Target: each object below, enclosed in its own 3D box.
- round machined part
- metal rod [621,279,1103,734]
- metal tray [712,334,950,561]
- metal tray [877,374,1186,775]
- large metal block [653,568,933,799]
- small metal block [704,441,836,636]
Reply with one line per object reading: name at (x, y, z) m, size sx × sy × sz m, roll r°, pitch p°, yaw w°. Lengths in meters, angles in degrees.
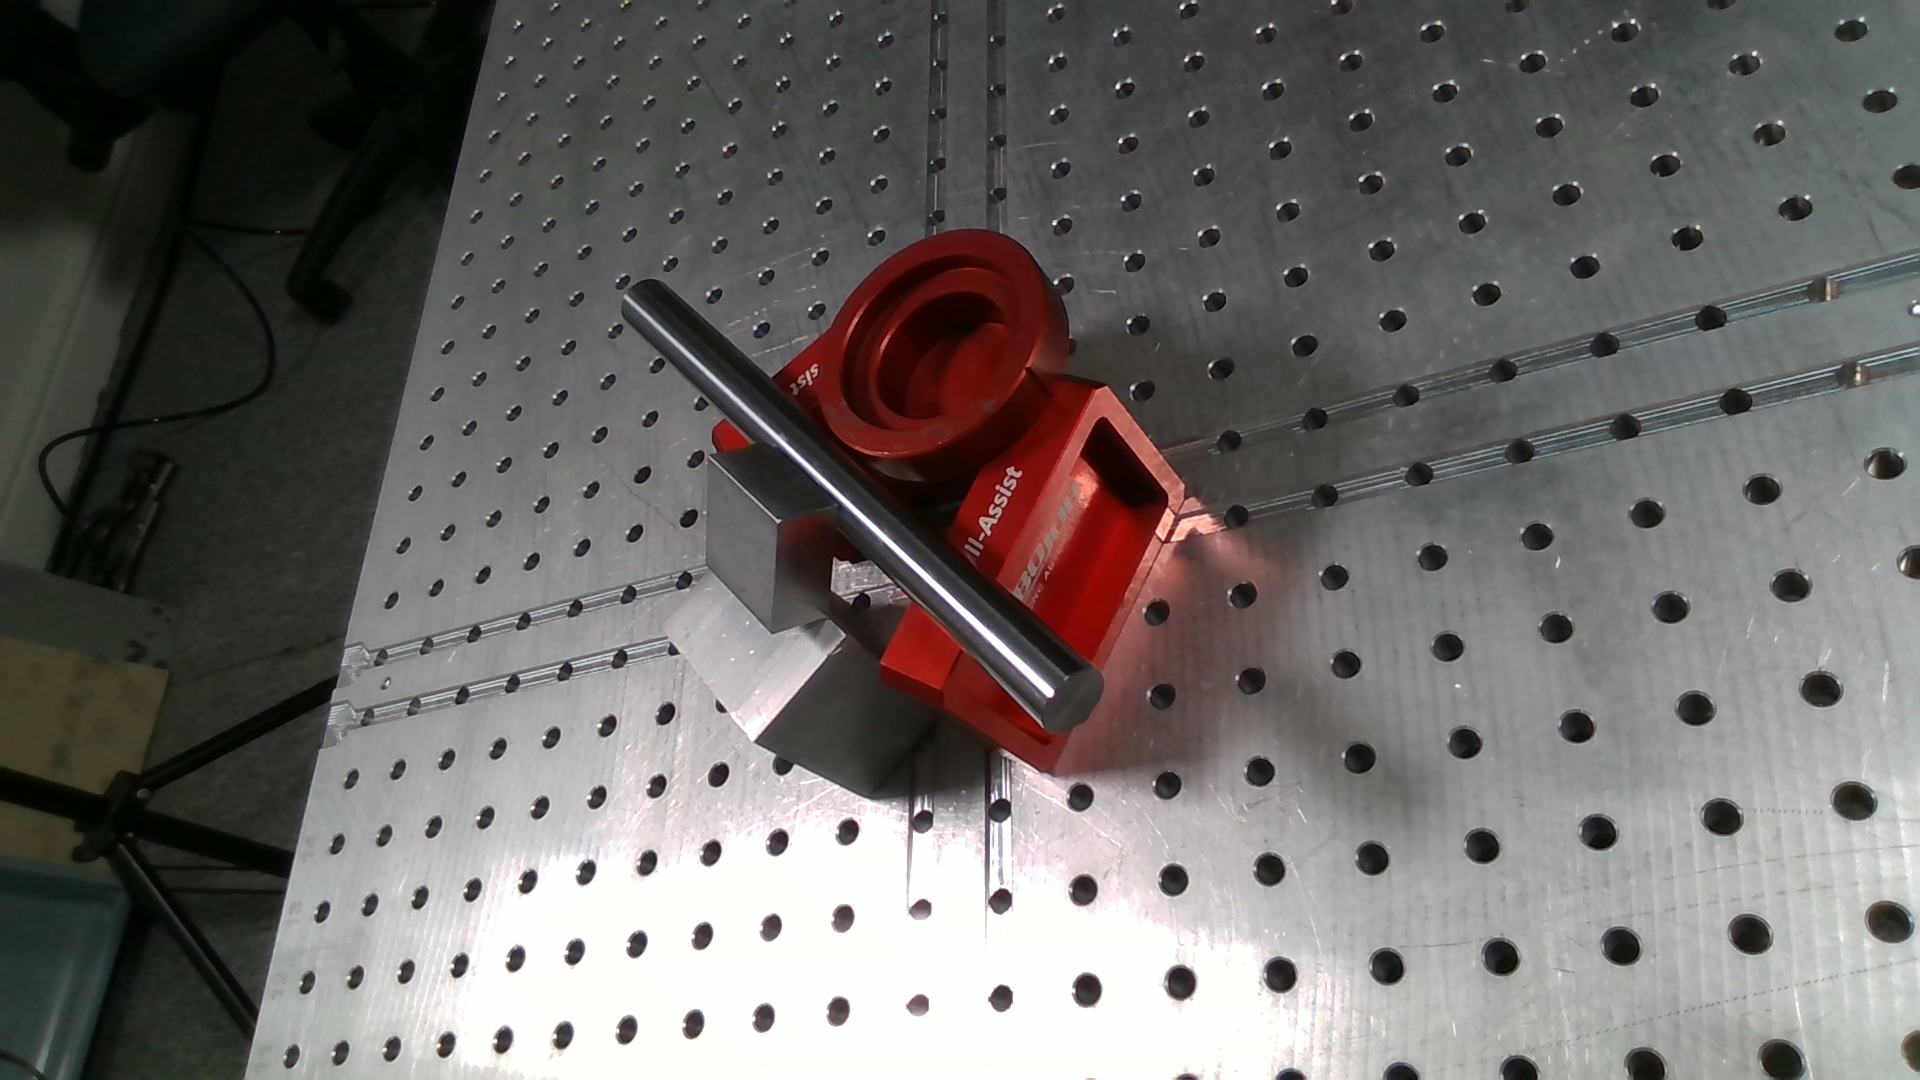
round machined part at (-0.002, -0.066, 0.525) m, size 0.098 × 0.042 × 0.098 m, roll -14°, pitch 59°, yaw 25°
metal rod at (-0.052, -0.028, 0.519) m, size 0.025 × 0.025 × 0.299 m, roll -49°, pitch 51°, yaw 0°
metal tray at (-0.030, -0.057, 0.595) m, size 0.130 × 0.090 × 0.030 m, roll -39°, pitch 52°, yaw 8°
metal tray at (0.031, 0.013, 0.519) m, size 0.030 × 0.090 × 0.130 m, roll 19°, pitch 77°, yaw 38°
large metal block at (-0.065, 0.051, 0.562) m, size 0.050 × 0.080 × 0.080 m, roll -49°, pitch 51°, yaw 0°
small metal block at (-0.072, -0.001, 0.512) m, size 0.025 × 0.050 × 0.050 m, roll -18°, pitch 41°, yaw -34°
